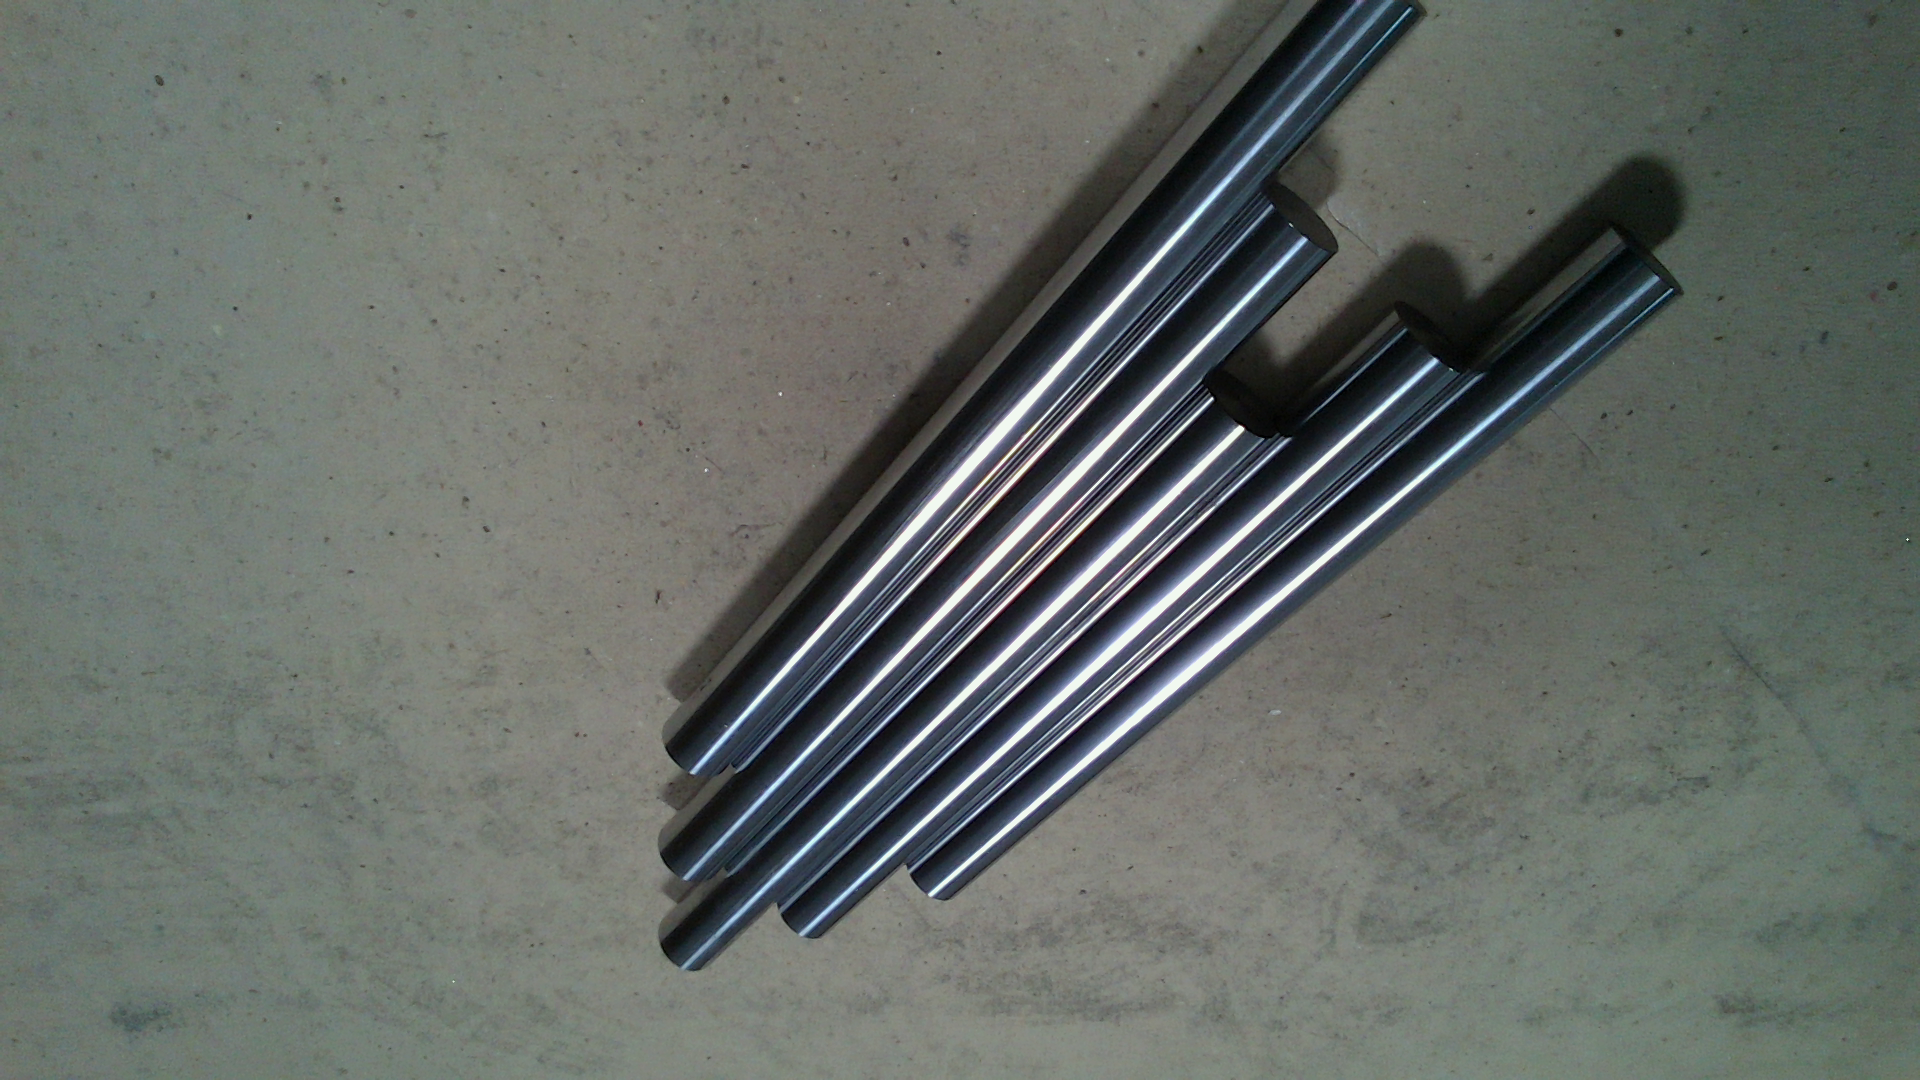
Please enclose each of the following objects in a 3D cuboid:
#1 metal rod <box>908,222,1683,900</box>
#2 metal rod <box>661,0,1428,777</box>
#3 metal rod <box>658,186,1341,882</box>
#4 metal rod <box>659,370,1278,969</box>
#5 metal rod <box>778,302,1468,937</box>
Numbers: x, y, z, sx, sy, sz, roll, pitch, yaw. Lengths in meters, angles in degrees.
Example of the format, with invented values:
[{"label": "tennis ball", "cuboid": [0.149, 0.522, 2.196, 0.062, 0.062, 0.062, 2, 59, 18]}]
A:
[{"label": "metal rod", "cuboid": [0.078, 0.024, 0.411, 0.025, 0.025, 0.299, 29, 124, -22]}, {"label": "metal rod", "cuboid": [0.002, -0.026, 0.369, 0.025, 0.025, 0.299, 29, 124, -22]}, {"label": "metal rod", "cuboid": [-0.007, 0.016, 0.404, 0.025, 0.025, 0.299, 29, 124, -22]}, {"label": "metal rod", "cuboid": [-0.014, 0.056, 0.438, 0.025, 0.025, 0.299, 29, 124, -22]}, {"label": "metal rod", "cuboid": [0.031, 0.041, 0.426, 0.025, 0.025, 0.299, 29, 124, -22]}]
